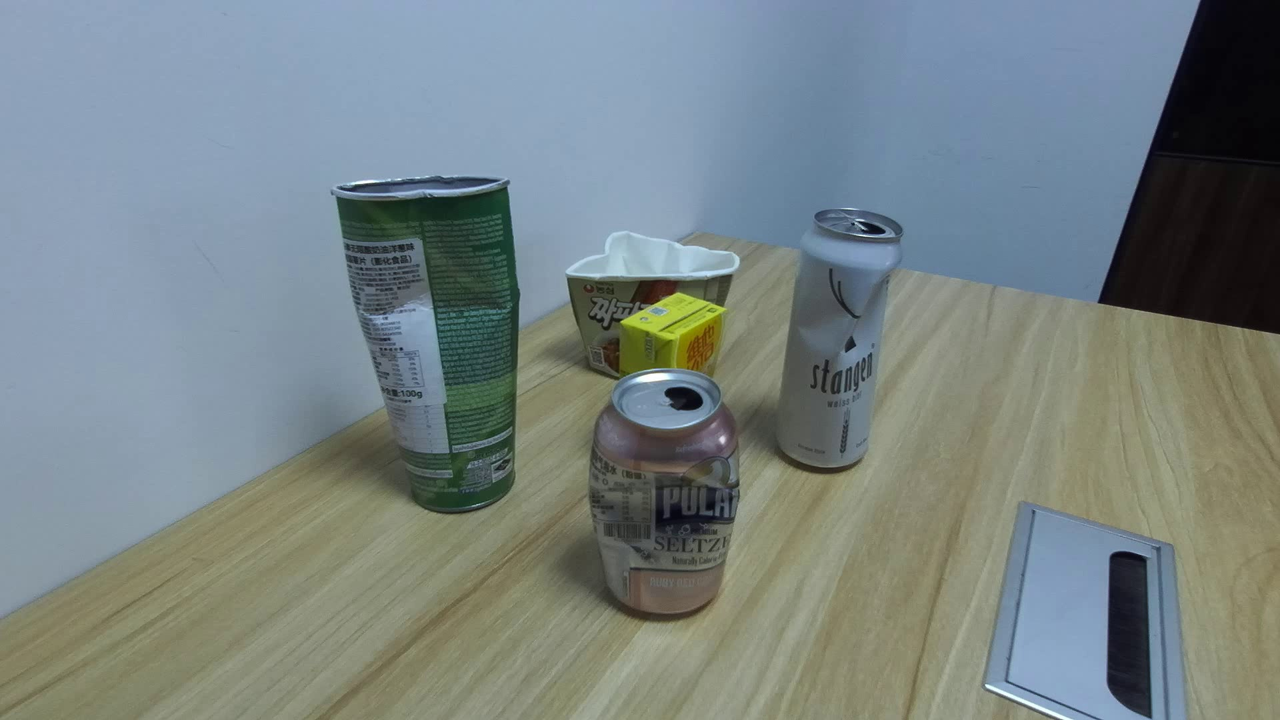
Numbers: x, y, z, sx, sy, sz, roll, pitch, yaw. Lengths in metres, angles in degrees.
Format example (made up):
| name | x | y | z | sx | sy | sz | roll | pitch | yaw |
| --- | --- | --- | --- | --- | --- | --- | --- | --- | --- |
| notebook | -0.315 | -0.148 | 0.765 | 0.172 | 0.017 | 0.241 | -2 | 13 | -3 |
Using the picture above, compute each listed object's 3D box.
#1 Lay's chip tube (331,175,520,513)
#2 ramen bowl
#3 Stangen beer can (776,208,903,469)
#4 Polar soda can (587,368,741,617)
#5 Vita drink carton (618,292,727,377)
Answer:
| name | x | y | z | sx | sy | sz | roll | pitch | yaw |
| --- | --- | --- | --- | --- | --- | --- | --- | --- | --- |
| Lay's chip tube | -0.117 | -0.006 | 0.426 | 0.068 | 0.199 | 0.075 | 19 | 33 | 30 |
| ramen bowl | 0.017 | -0.046 | 0.606 | 0.133 | 0.097 | 0.113 | 8 | 29 | 13 |
| Stangen beer can | 0.132 | -0.011 | 0.466 | 0.070 | 0.173 | 0.069 | -4 | 28 | -8 |
| Polar soda can | 0.015 | 0.069 | 0.364 | 0.074 | 0.122 | 0.067 | 21 | 36 | 34 |
| Vita drink carton | 0.025 | 0.017 | 0.478 | 0.043 | 0.109 | 0.077 | 19 | 33 | 32 |
